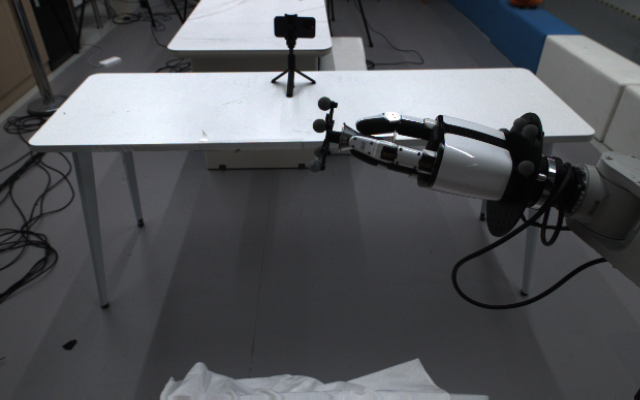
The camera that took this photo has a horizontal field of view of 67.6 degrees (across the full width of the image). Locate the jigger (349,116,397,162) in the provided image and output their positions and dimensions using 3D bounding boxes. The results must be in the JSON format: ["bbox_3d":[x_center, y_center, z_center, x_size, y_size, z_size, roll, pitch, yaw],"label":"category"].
[{"bbox_3d":[0.066,-0.076,0.620,0.071,0.043,0.043,10,35,4],"label":"jigger"}]
